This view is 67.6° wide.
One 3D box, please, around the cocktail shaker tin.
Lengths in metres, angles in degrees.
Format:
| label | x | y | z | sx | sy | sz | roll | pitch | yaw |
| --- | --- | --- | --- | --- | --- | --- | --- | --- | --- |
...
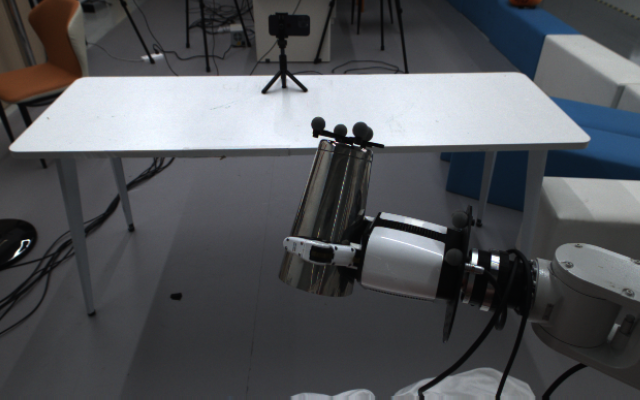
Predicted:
| label | x | y | z | sx | sy | sz | roll | pitch | yaw |
| --- | --- | --- | --- | --- | --- | --- | --- | --- | --- |
| cocktail shaker tin | 0.014 | 0.019 | 0.580 | 0.093 | 0.170 | 0.093 | 13 | 4 | -1 |
